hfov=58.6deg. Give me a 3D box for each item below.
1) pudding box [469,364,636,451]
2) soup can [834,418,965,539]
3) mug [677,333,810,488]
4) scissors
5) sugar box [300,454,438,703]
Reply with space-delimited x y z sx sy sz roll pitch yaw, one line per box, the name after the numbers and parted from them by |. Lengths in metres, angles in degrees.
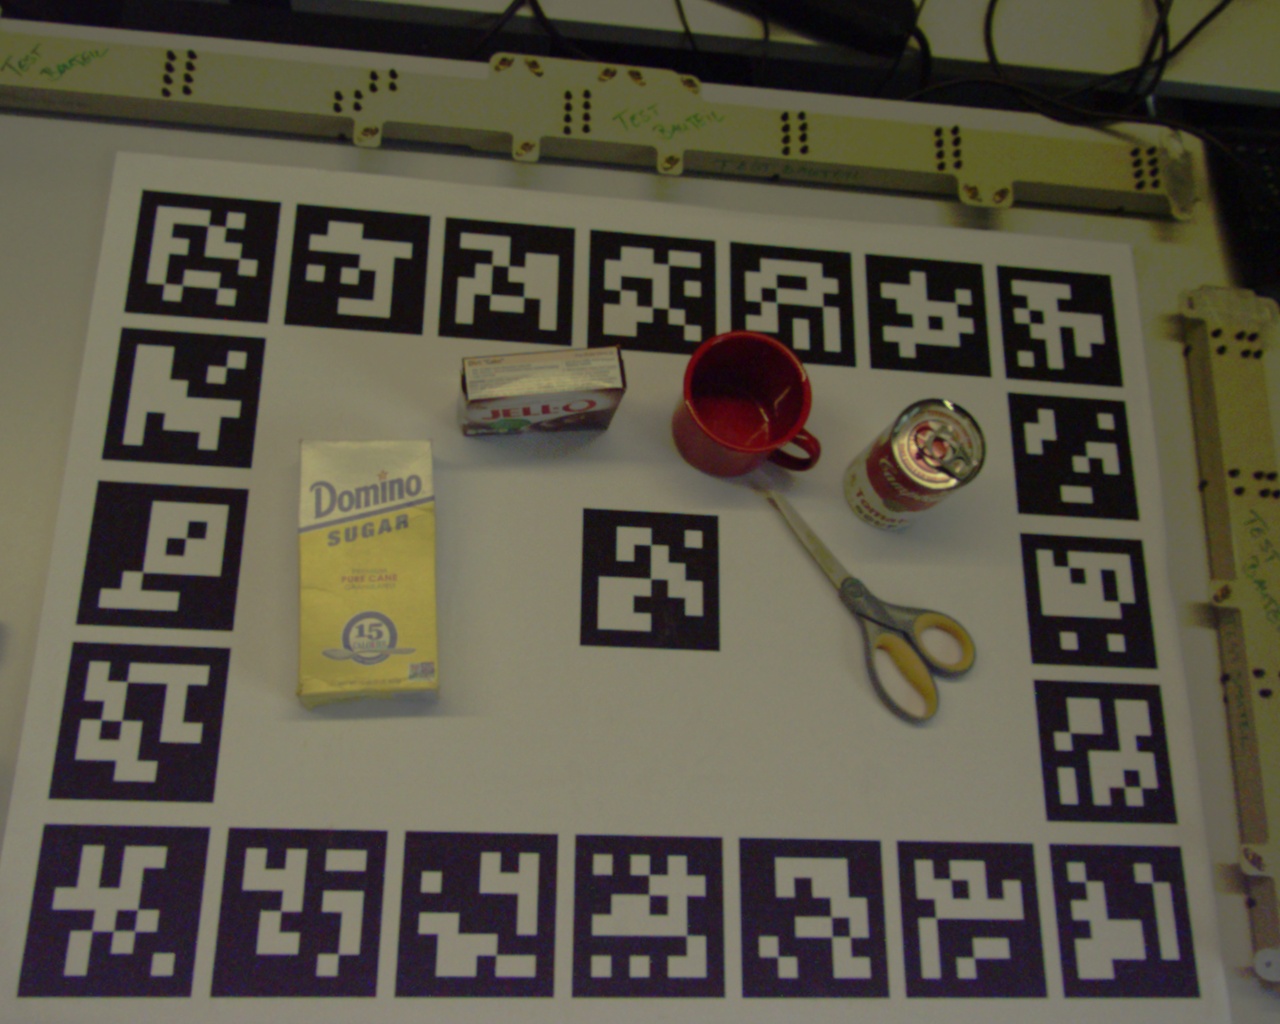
-0.066 -0.077 0.837 0.113 0.090 0.039 -6 84 -10 | pudding box
0.193 -0.023 0.864 0.067 0.102 0.068 2 75 -8 | soup can
0.080 -0.067 0.862 0.093 0.081 0.117 -33 81 -12 | mug
0.164 0.077 0.870 0.087 0.016 0.203 -40 85 -6 | scissors
-0.192 0.047 0.818 0.092 0.045 0.177 0 77 -6 | sugar box
